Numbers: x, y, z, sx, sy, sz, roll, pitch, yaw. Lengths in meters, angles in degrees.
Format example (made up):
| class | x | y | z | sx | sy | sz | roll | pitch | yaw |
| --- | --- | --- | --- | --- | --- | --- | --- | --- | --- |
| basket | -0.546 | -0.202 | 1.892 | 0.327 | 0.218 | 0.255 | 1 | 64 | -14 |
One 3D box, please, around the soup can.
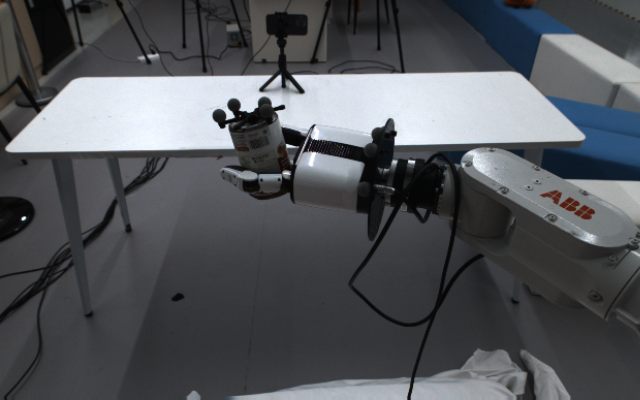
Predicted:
| class | x | y | z | sx | sy | sz | roll | pitch | yaw |
| --- | --- | --- | --- | --- | --- | --- | --- | --- | --- |
| soup can | -0.075 | -0.060 | 0.645 | 0.067 | 0.101 | 0.067 | -11 | 27 | 6 |
